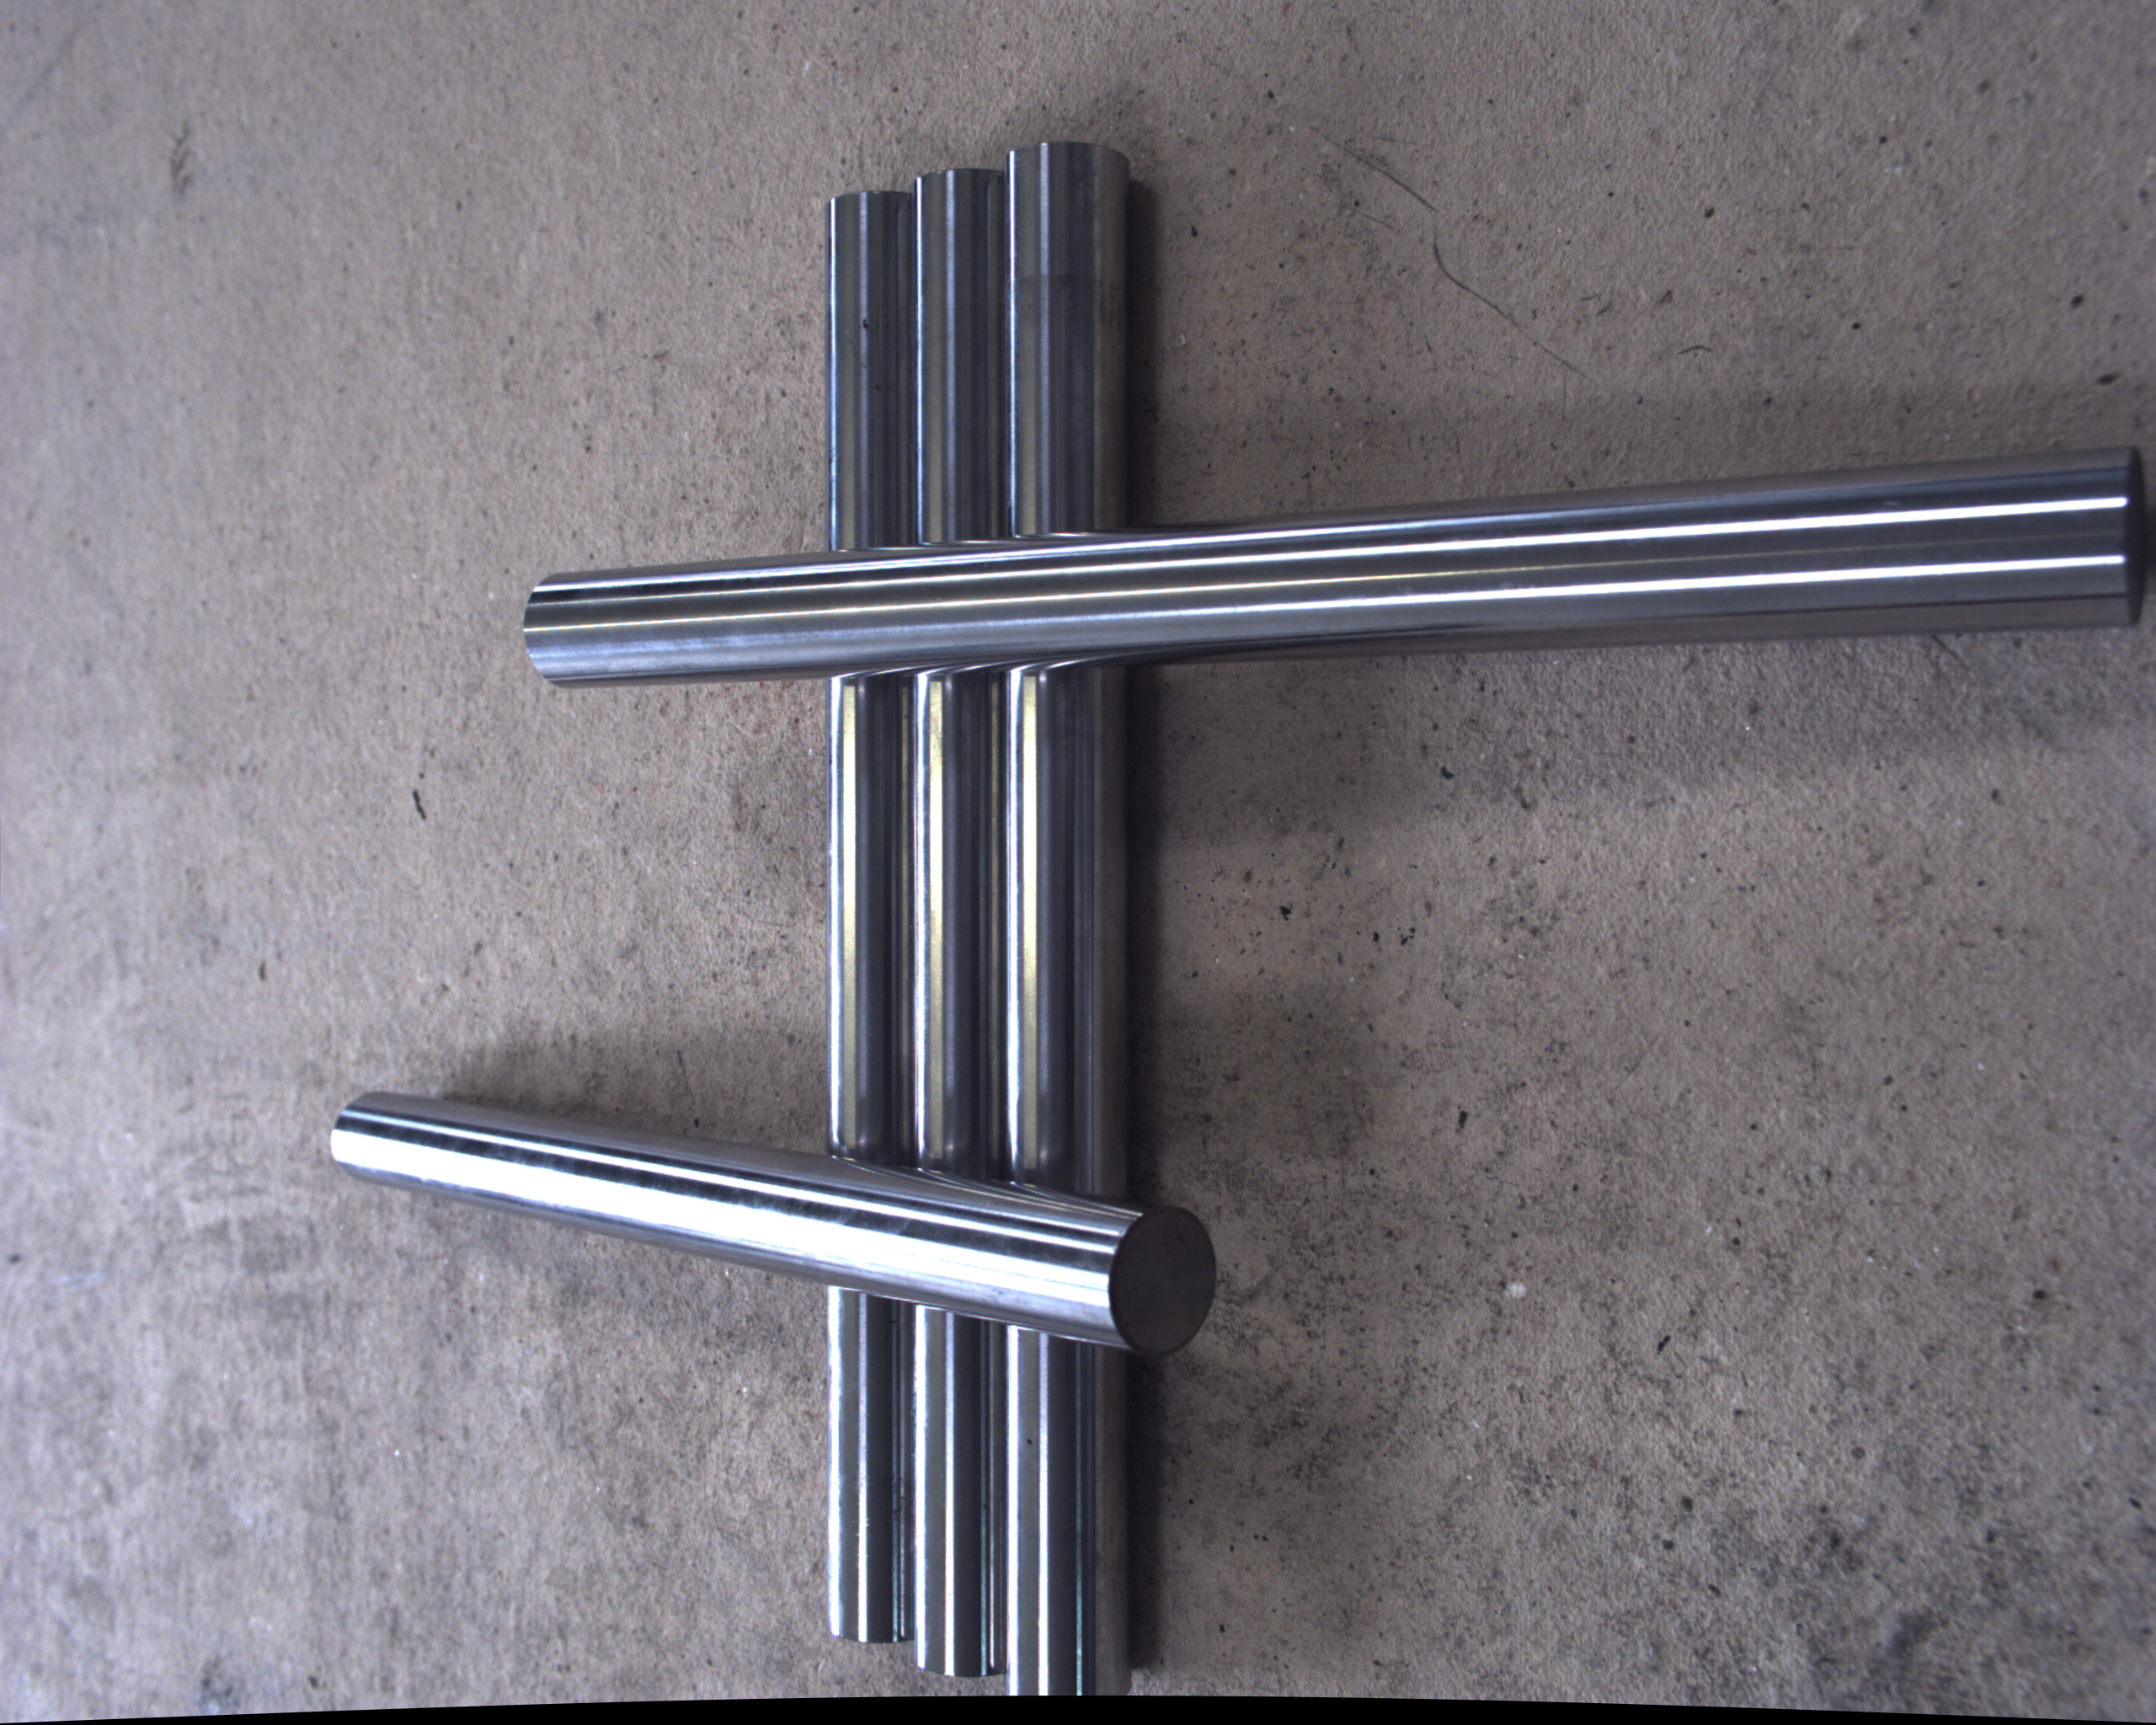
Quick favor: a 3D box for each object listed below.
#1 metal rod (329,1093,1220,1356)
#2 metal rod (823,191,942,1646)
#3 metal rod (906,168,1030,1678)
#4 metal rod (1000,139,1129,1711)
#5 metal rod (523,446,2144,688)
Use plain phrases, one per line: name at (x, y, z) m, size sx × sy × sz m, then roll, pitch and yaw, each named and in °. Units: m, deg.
metal rod at (-0.088, 0.071, 0.454) m, size 0.300 × 0.025 × 0.025 m, roll -1°, pitch 89°, yaw 47°
metal rod at (-0.041, 0.011, 0.440) m, size 0.025 × 0.025 × 0.298 m, roll 0°, pitch 90°, yaw 40°
metal rod at (-0.022, 0.012, 0.424) m, size 0.025 × 0.025 × 0.298 m, roll 0°, pitch 90°, yaw 40°
metal rod at (-0.003, 0.012, 0.408) m, size 0.025 × 0.025 × 0.298 m, roll 0°, pitch 90°, yaw 40°
metal rod at (0.018, -0.047, 0.366) m, size 0.300 × 0.025 × 0.025 m, roll 1°, pitch 91°, yaw 32°
